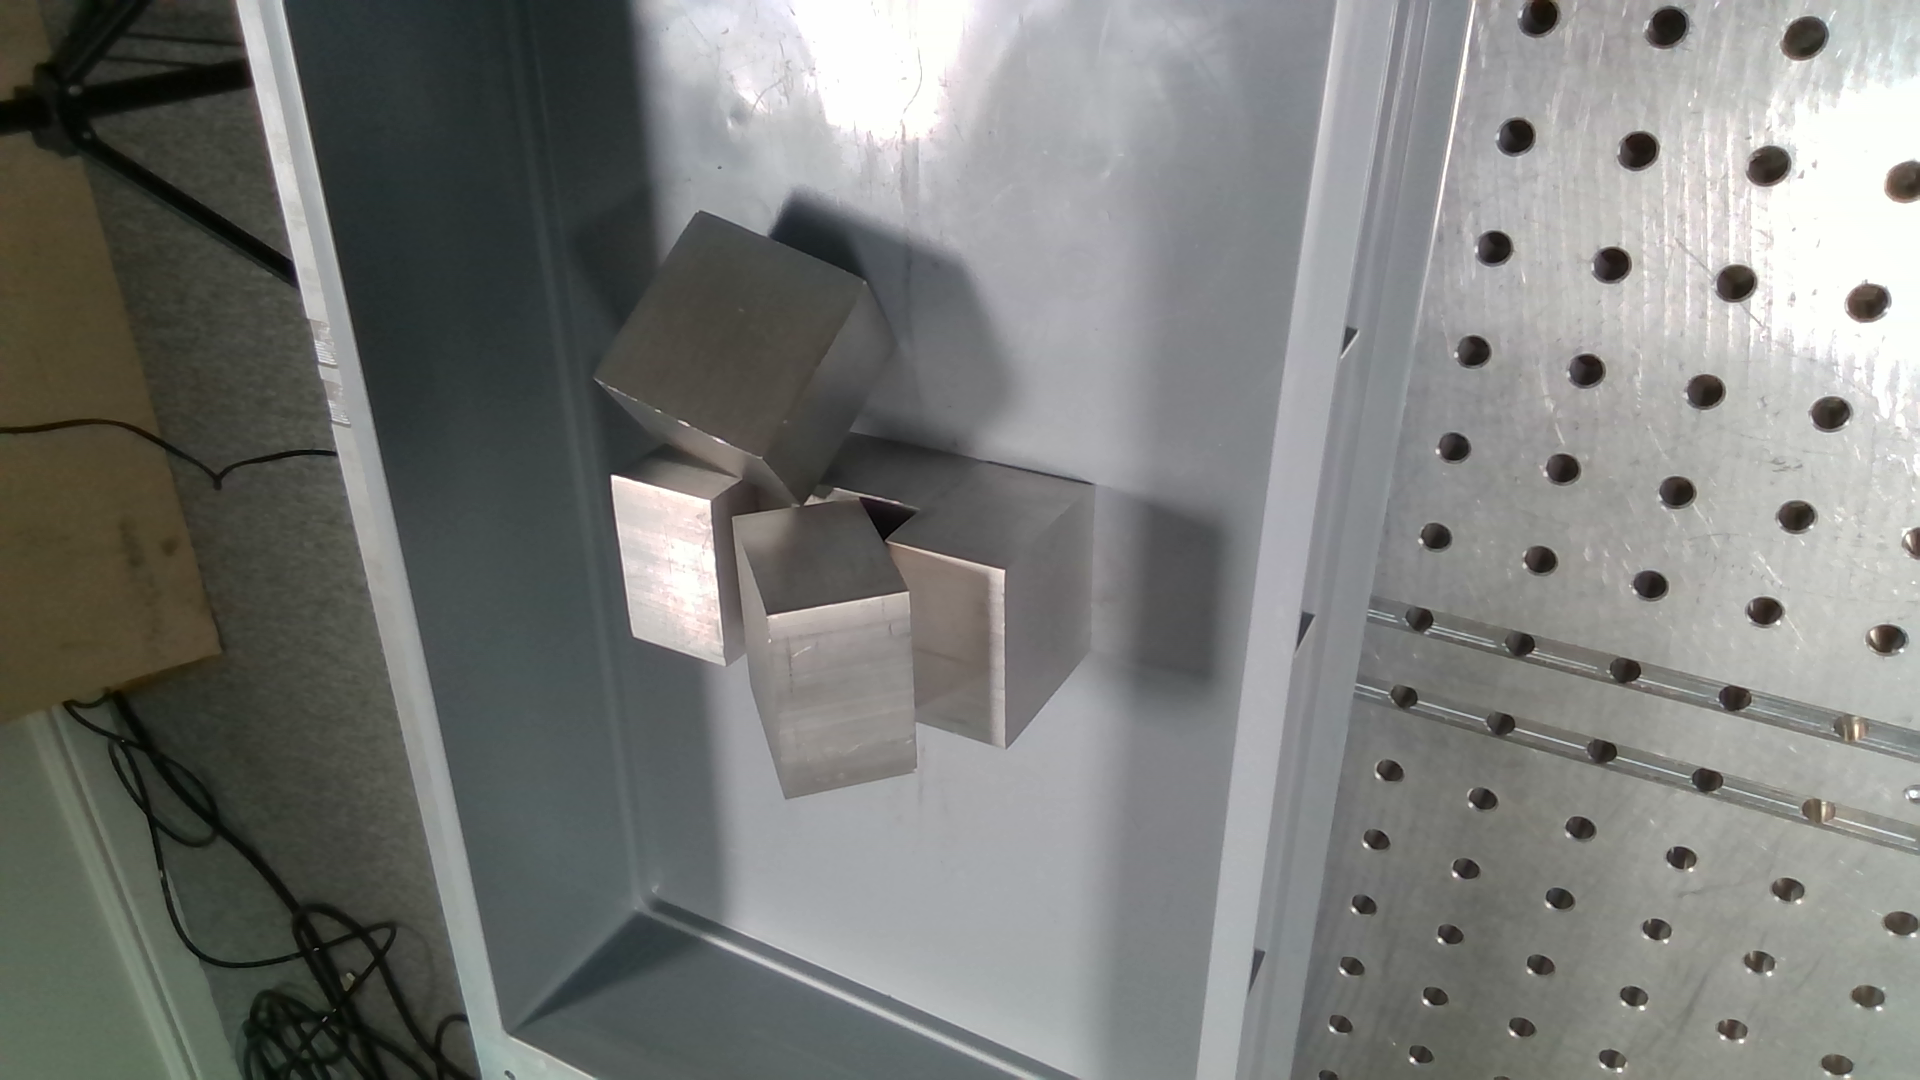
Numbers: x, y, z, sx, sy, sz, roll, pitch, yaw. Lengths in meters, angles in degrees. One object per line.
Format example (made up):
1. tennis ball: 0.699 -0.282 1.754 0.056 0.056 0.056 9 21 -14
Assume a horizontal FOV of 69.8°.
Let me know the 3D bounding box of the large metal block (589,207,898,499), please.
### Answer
1. large metal block: -0.084 -0.072 0.544 0.080 0.080 0.050 26 169 18

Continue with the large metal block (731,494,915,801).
1. large metal block: -0.053 0.039 0.524 0.050 0.080 0.080 -9 119 -14

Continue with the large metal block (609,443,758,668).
1. large metal block: -0.103 -0.004 0.603 0.050 0.080 0.080 15 122 25

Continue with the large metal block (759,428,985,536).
1. large metal block: -0.036 0.002 0.588 0.080 0.050 0.080 13 121 25

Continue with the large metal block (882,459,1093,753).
1. large metal block: 0.013 0.024 0.547 0.050 0.080 0.080 13 121 25
